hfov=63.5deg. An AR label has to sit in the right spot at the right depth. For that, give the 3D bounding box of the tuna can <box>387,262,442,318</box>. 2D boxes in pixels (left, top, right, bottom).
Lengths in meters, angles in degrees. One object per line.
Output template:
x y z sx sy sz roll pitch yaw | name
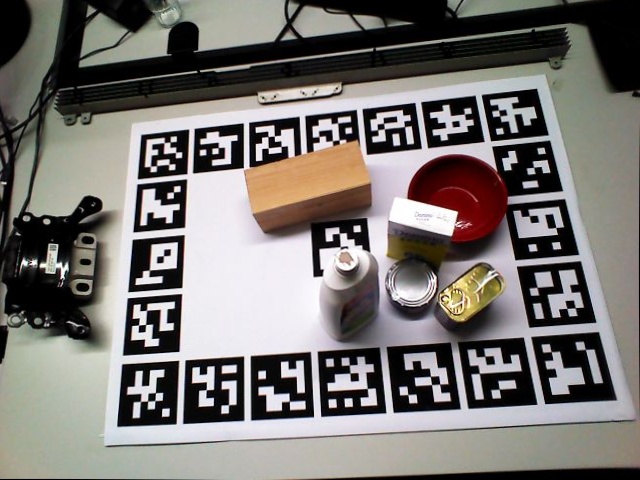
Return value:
0.151 0.081 0.831 0.086 0.034 0.085 -3 72 7 | tuna can

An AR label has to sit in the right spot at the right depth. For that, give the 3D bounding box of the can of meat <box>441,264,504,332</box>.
0.235 0.090 0.796 0.102 0.084 0.058 -33 65 -7 | can of meat

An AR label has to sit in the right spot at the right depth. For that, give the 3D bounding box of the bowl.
0.245 -0.064 0.866 0.162 0.055 0.161 -4 68 10 | bowl

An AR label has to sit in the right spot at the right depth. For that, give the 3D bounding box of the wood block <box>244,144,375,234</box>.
-0.016 -0.087 0.897 0.207 0.090 0.090 -14 72 1 | wood block

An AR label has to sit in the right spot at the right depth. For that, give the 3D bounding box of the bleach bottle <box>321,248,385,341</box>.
0.041 0.074 0.736 0.102 0.251 0.068 -29 67 -4 | bleach bottle

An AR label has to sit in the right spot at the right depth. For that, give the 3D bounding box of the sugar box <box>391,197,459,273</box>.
0.162 -0.004 0.786 0.093 0.176 0.045 14 73 16 | sugar box
